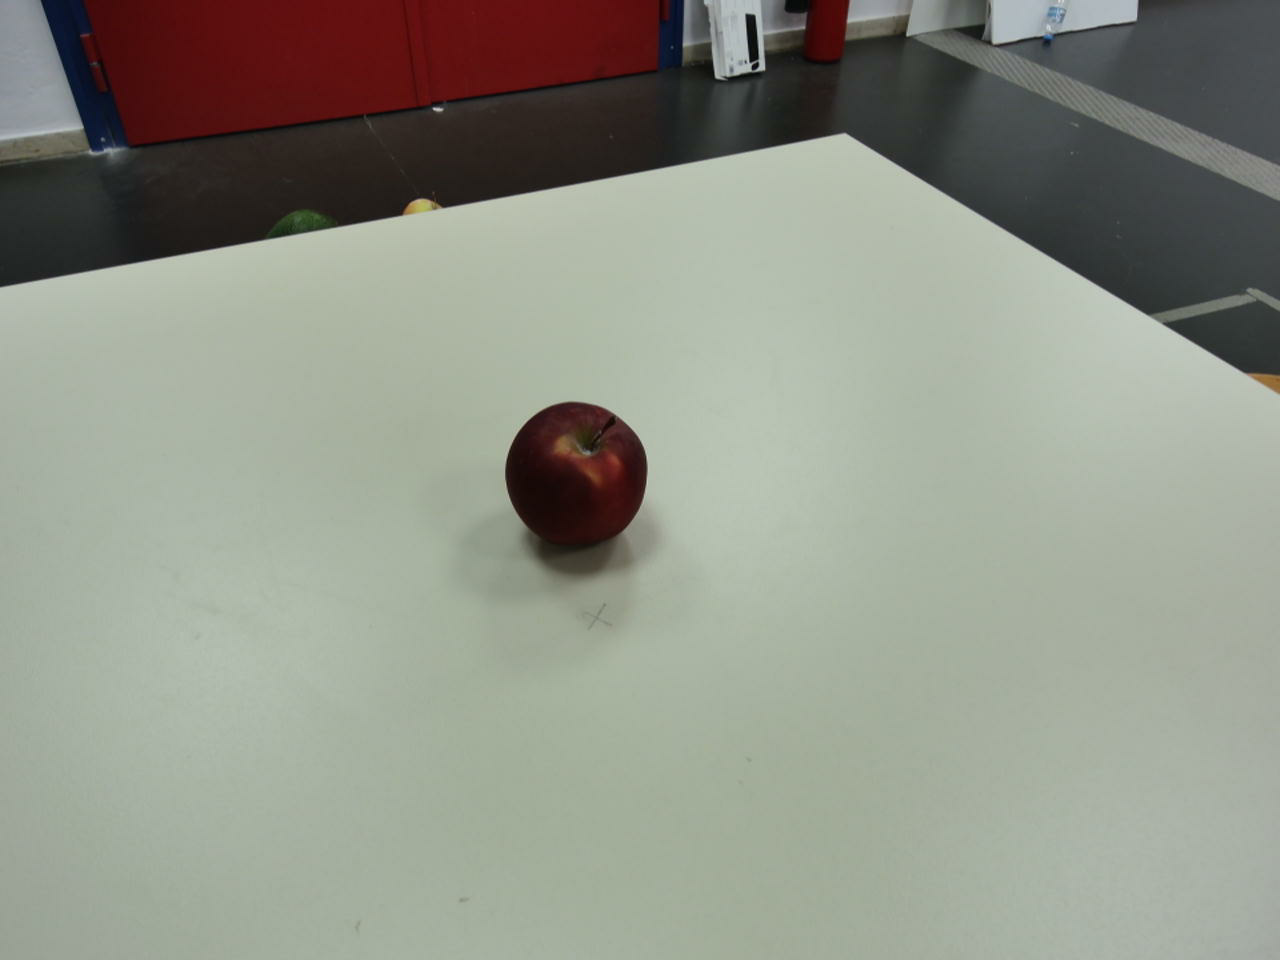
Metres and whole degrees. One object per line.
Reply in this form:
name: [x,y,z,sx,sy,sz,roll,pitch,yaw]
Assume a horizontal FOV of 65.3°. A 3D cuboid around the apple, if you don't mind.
apple: [-0.031,-0.002,0.486,0.070,0.072,0.070,1,39,-1]
